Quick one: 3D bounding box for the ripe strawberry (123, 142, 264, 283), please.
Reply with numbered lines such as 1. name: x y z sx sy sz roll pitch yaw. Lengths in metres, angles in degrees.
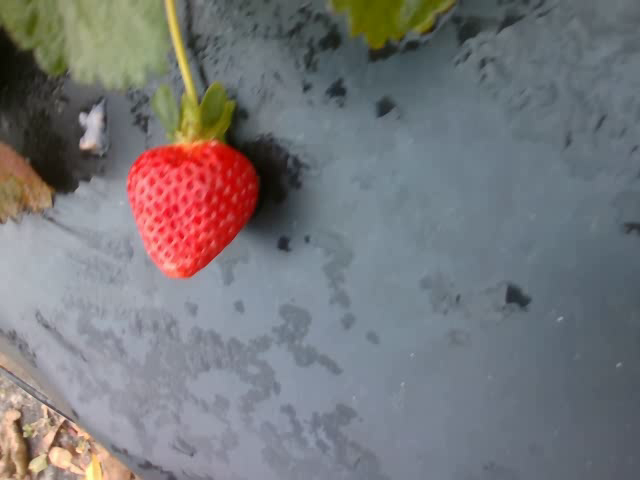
1. ripe strawberry: -0.044 -0.011 0.207 0.048 0.053 0.045 16 -17 -36
